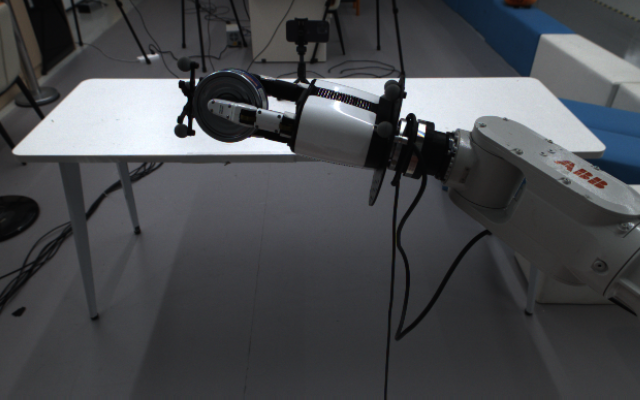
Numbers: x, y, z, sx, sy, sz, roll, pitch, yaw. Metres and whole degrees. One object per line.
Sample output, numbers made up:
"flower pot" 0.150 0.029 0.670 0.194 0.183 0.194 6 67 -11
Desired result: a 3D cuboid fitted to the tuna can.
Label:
"tuna can" -0.106 -0.114 0.581 0.085 0.085 0.034 4 18 3
